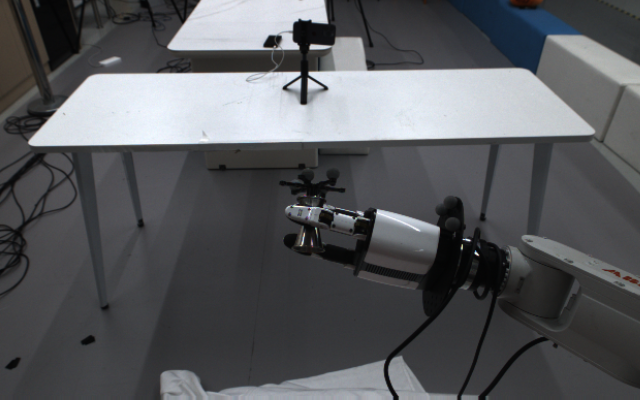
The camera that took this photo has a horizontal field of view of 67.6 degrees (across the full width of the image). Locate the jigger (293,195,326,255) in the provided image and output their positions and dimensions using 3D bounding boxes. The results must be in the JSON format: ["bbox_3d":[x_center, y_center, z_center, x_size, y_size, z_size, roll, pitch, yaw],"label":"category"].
[{"bbox_3d":[-0.014,0.031,0.634,0.043,0.043,0.071,3,75,2],"label":"jigger"}]
